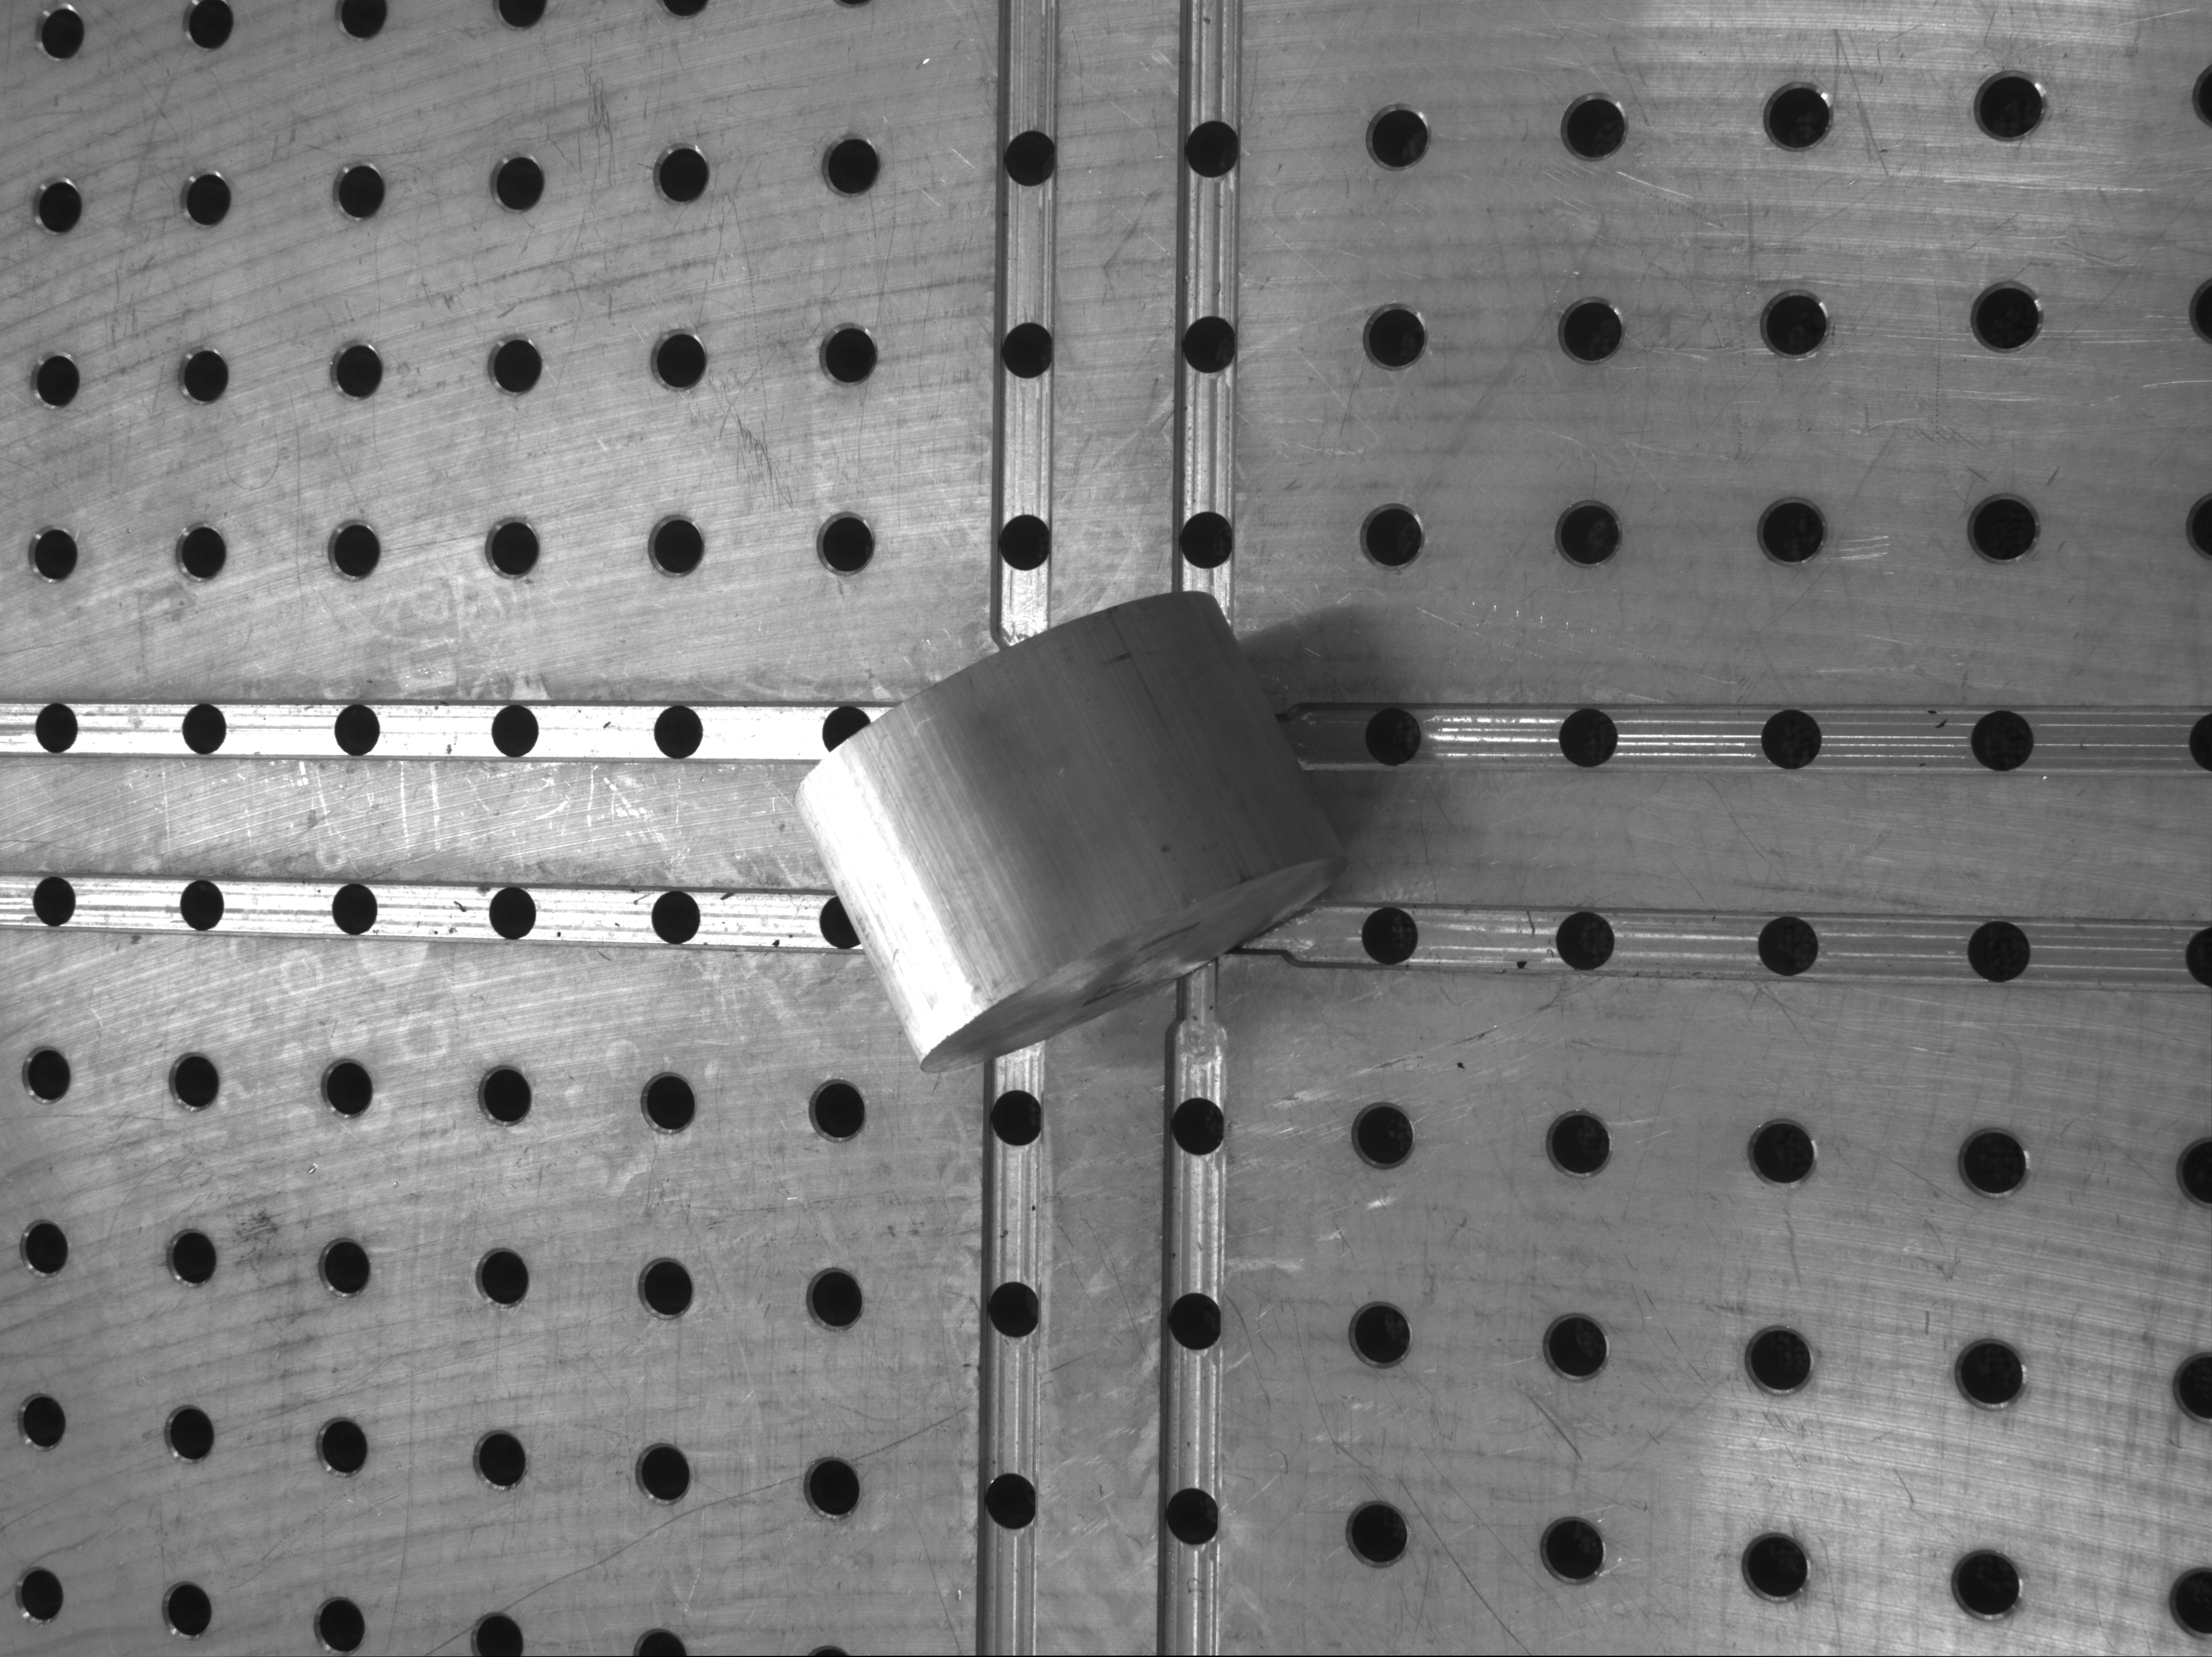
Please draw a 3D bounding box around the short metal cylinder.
[{"bbox_3d":[-0.006,0.001,0.622,0.080,0.080,0.050,-30,79,18],"label":"short metal cylinder"}]
